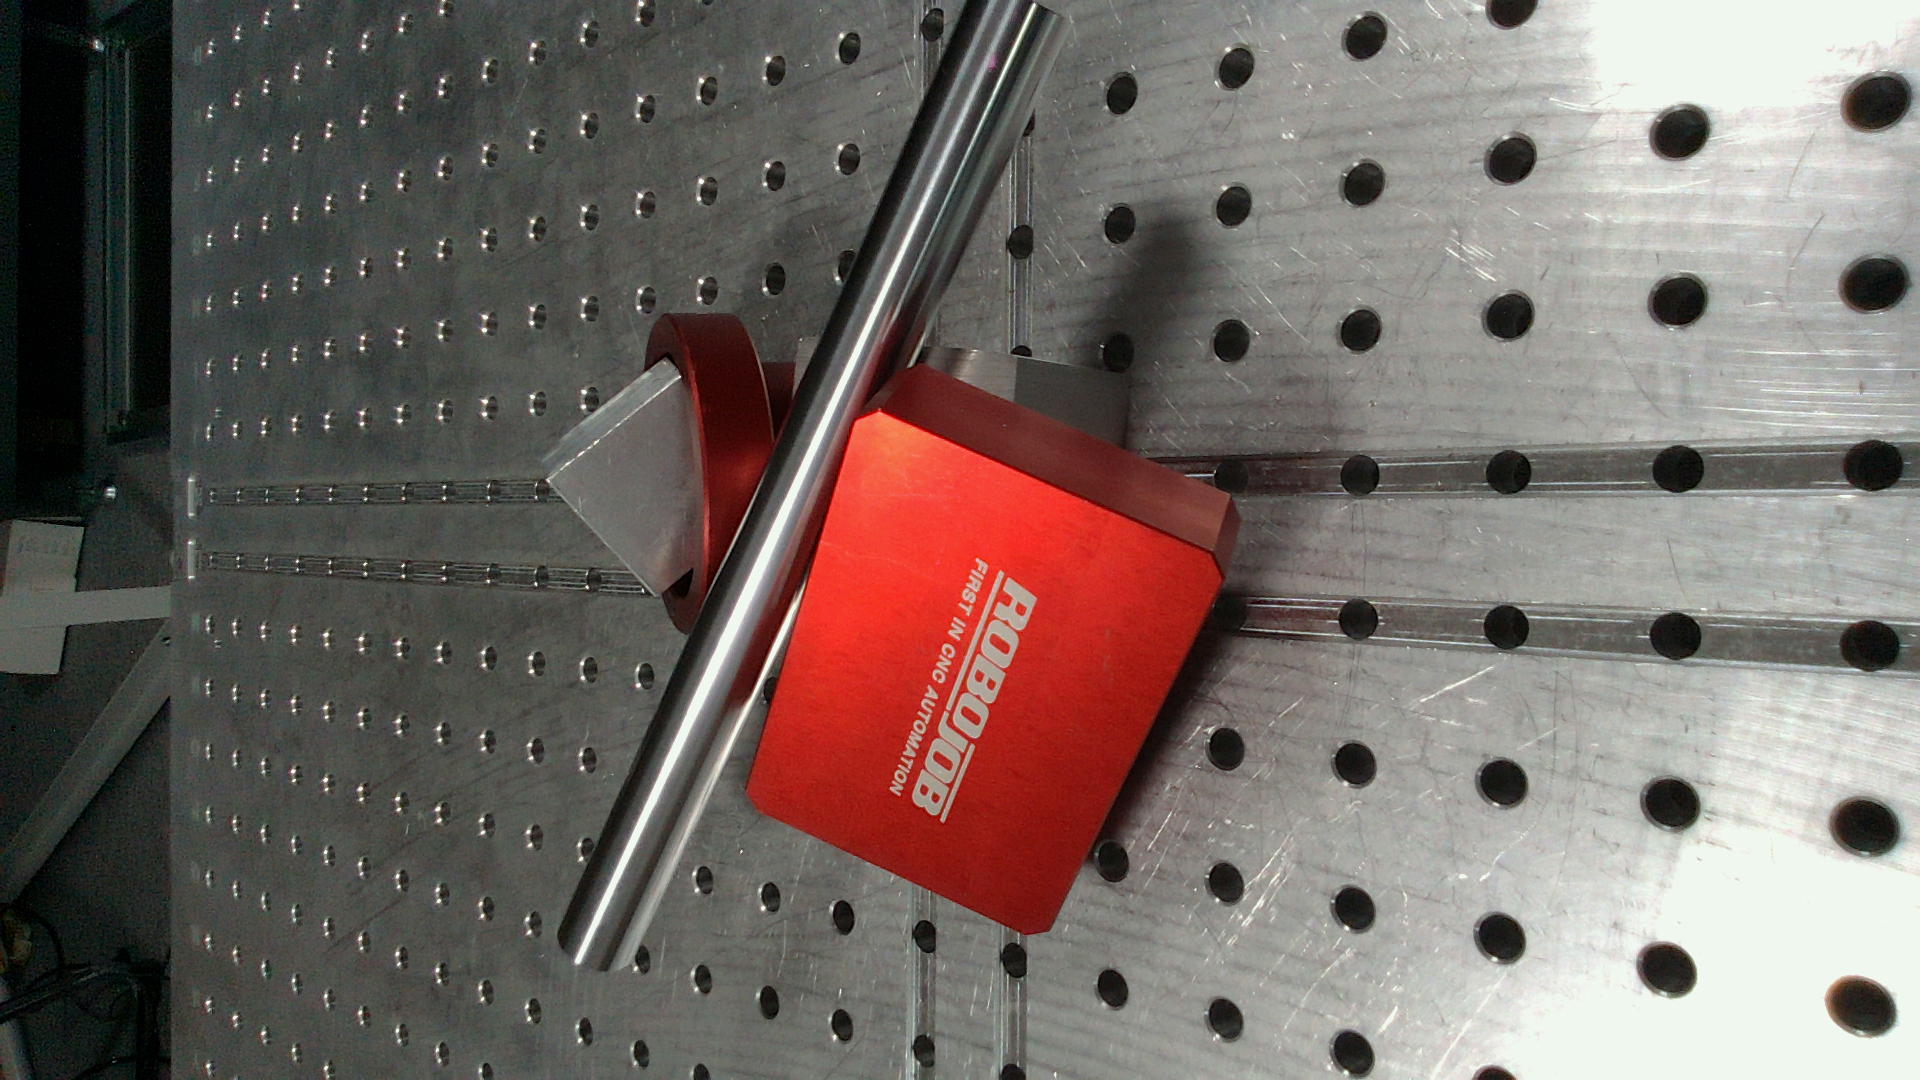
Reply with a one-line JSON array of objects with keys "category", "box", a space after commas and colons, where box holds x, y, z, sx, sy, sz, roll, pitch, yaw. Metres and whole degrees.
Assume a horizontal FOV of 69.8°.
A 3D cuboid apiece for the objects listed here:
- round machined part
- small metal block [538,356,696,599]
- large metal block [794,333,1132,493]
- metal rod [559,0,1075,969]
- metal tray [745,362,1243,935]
[{"category": "round machined part", "box": [-0.070, -0.021, 0.428, 0.098, 0.042, 0.098, 177, 90, -66]}, {"category": "small metal block", "box": [-0.092, -0.019, 0.422, 0.050, 0.050, 0.025, -39, 30, -5]}, {"category": "large metal block", "box": [-0.004, -0.013, 0.384, 0.080, 0.050, 0.080, 12, 97, 40]}, {"category": "metal rod", "box": [-0.048, -0.001, 0.373, 0.025, 0.025, 0.300, 41, 115, 32]}, {"category": "metal tray", "box": [0.004, 0.031, 0.347, 0.090, 0.030, 0.130, 23, 123, 5]}]
